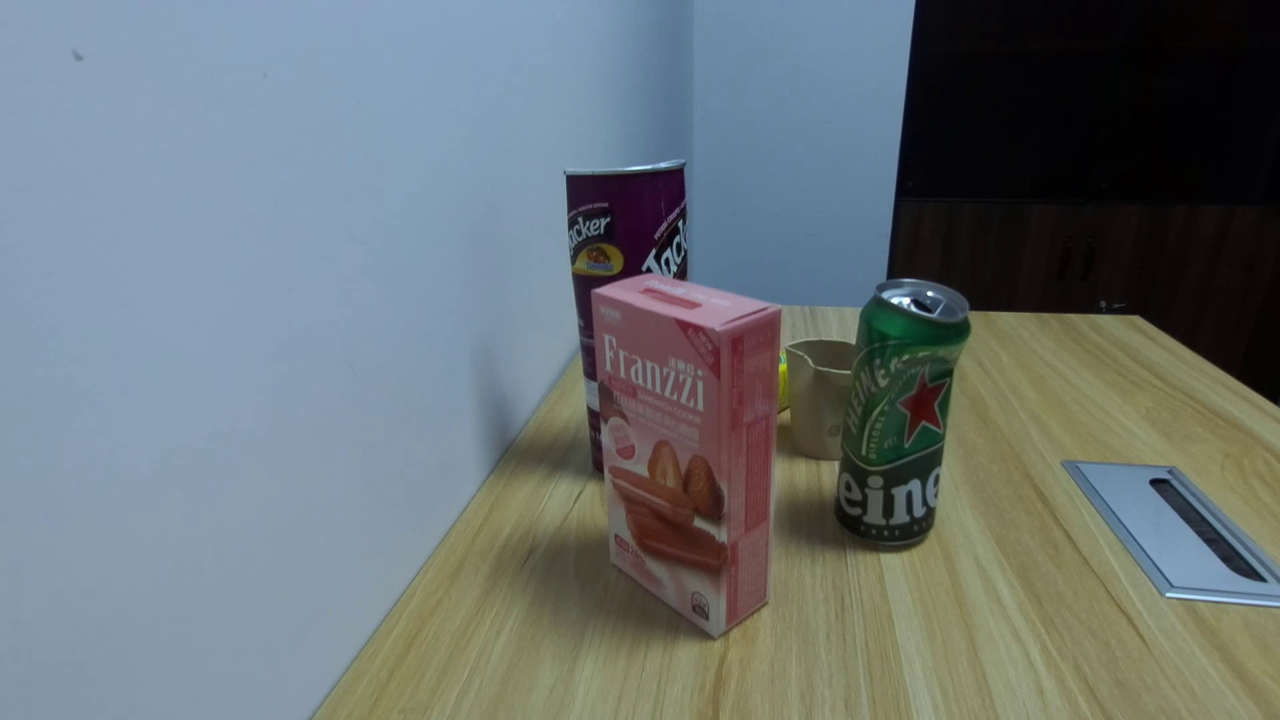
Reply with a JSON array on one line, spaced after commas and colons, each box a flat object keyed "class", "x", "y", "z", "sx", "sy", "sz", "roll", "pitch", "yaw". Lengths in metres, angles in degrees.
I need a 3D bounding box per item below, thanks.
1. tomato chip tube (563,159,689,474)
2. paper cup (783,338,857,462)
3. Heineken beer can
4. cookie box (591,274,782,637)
[{"class": "tomato chip tube", "x": -0.004, "y": -0.023, "z": 0.527, "sx": 0.077, "sy": 0.235, "sz": 0.076, "roll": 2, "pitch": 19, "yaw": 14}, {"class": "paper cup", "x": 0.156, "y": 0.032, "z": 0.577, "sx": 0.066, "sy": 0.084, "sz": 0.071, "roll": -5, "pitch": 20, "yaw": -13}, {"class": "Heineken beer can", "x": 0.166, "y": 0.038, "z": 0.450, "sx": 0.068, "sy": 0.168, "sz": 0.069, "roll": 5, "pitch": 25, "yaw": 9}, {"class": "cookie box", "x": 0.025, "y": 0.052, "z": 0.397, "sx": 0.048, "sy": 0.185, "sz": 0.095, "roll": -21, "pitch": 29, "yaw": -37}]
